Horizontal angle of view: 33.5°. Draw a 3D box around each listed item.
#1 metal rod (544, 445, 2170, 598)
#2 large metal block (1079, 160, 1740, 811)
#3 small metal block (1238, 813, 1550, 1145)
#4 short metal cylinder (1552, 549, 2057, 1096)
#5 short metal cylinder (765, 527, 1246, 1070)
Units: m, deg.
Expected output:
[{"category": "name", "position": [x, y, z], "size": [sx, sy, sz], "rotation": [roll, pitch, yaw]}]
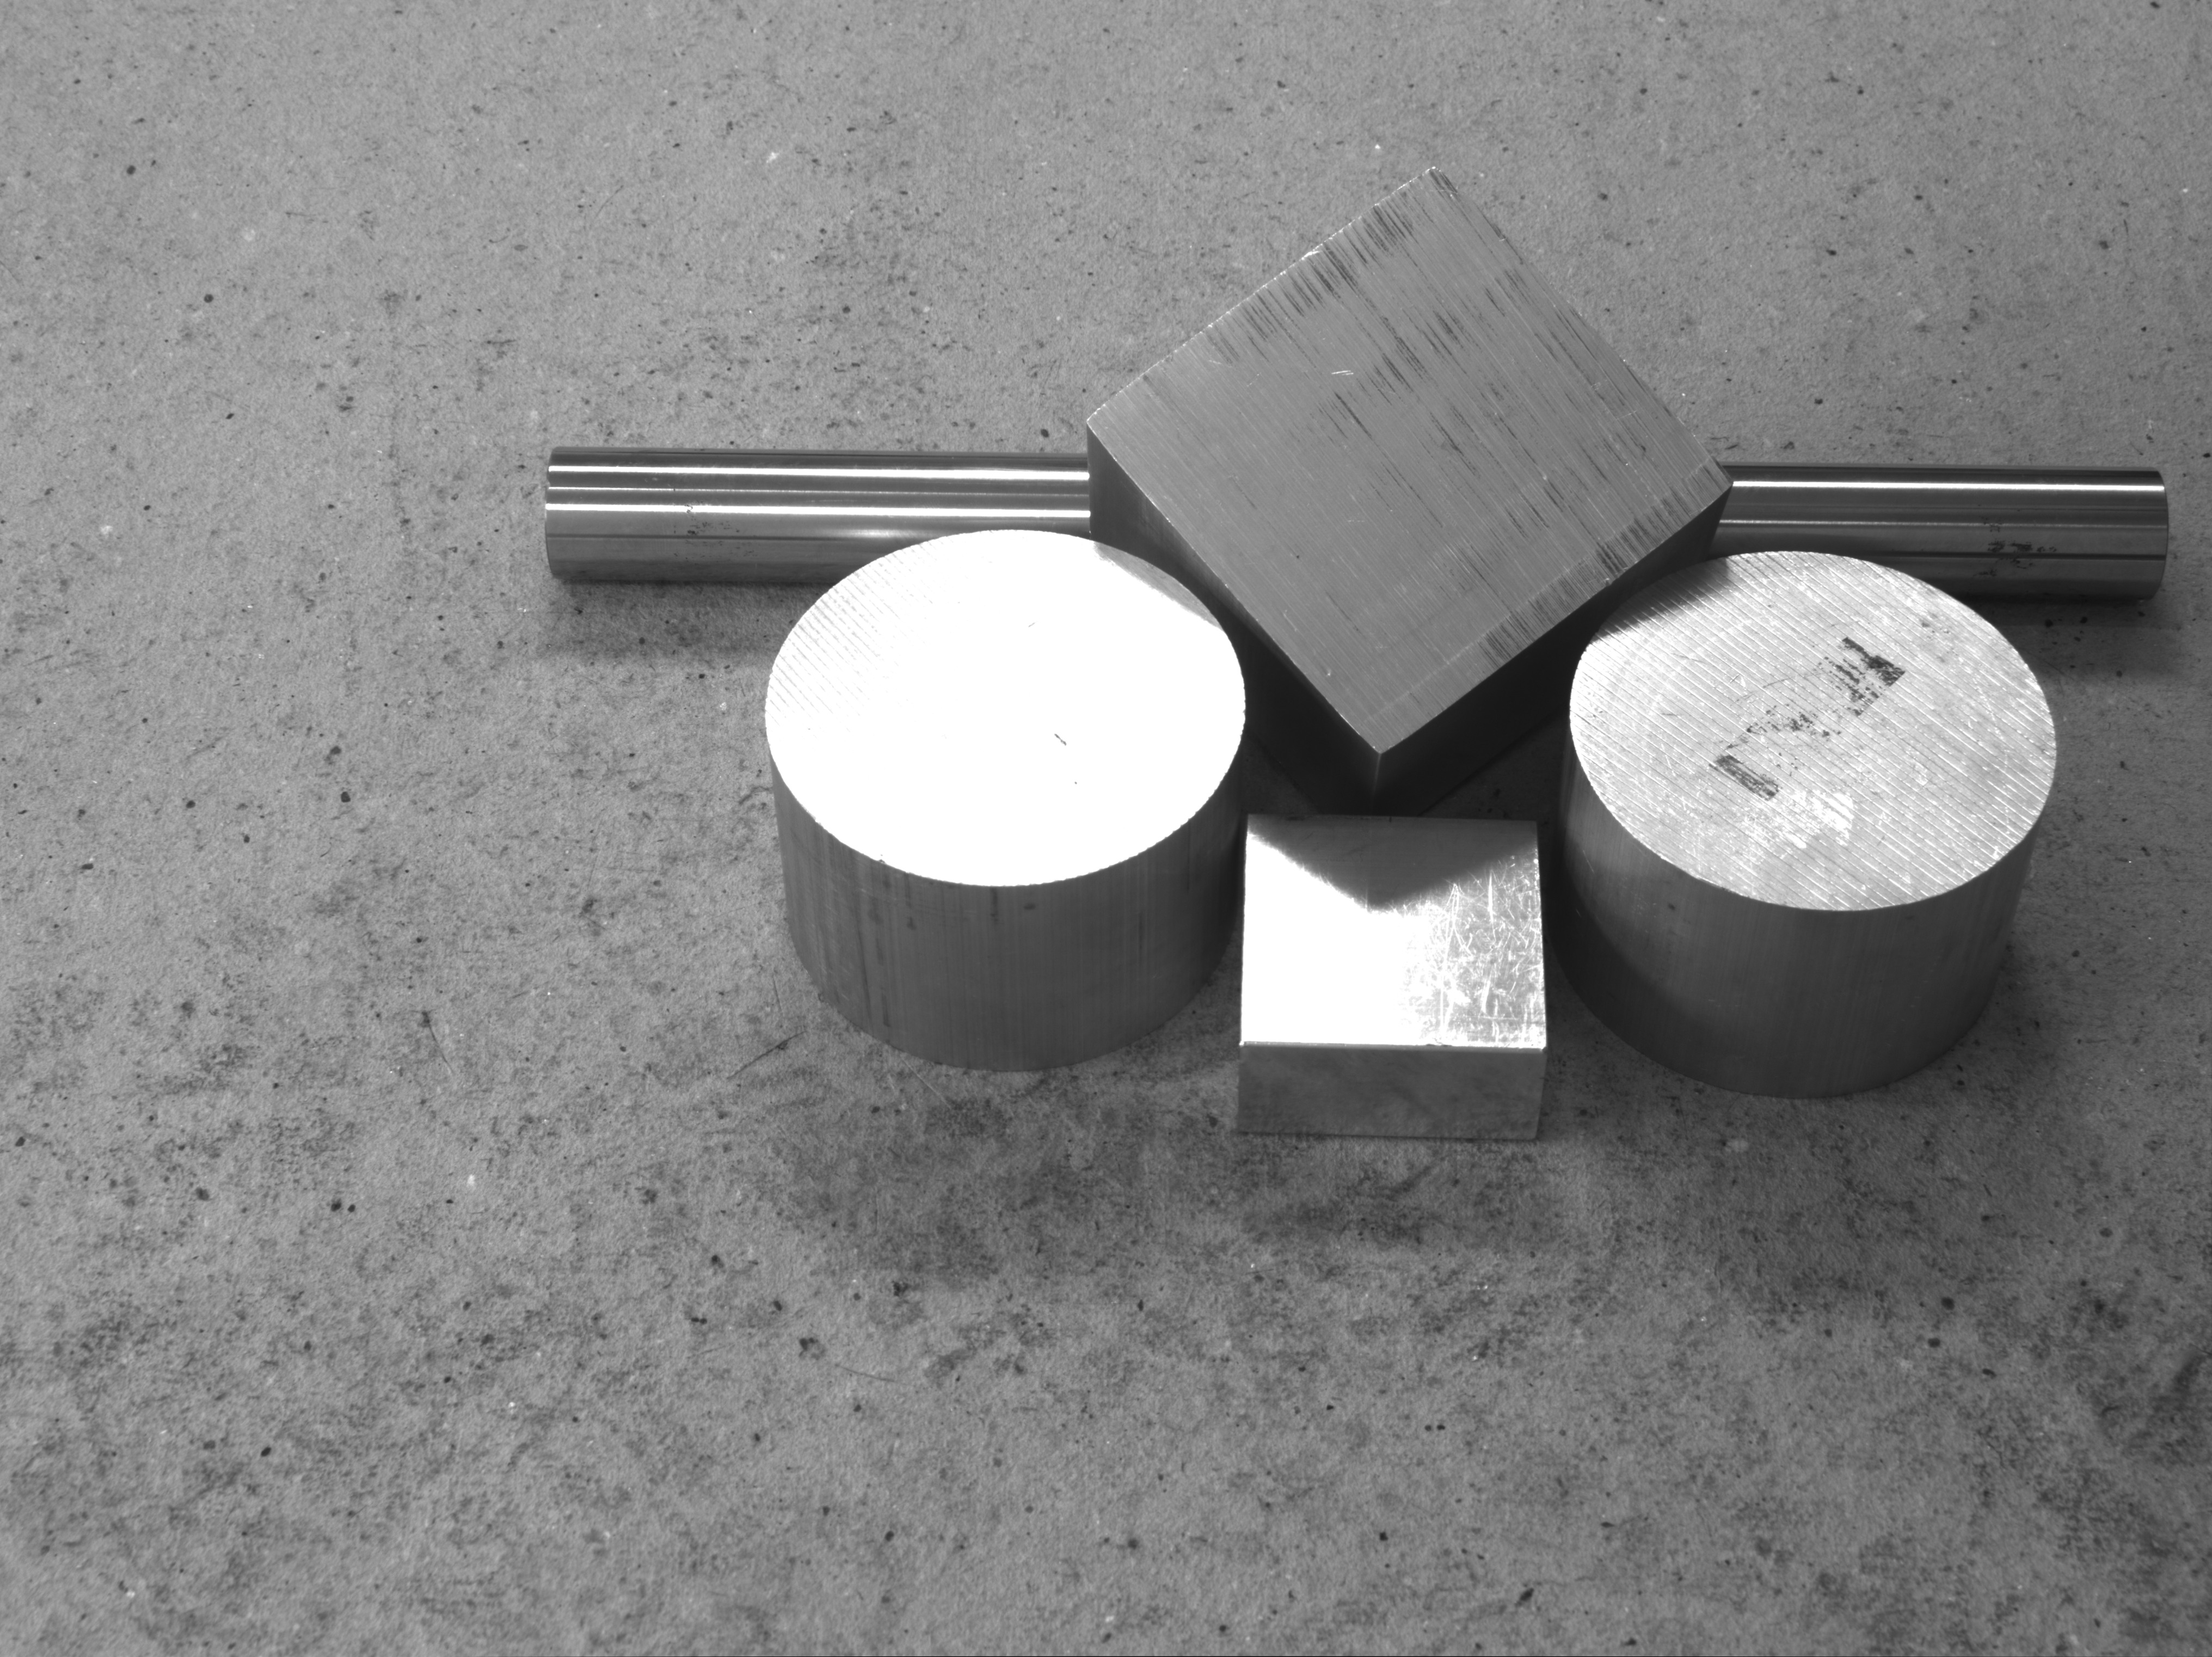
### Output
[{"category": "metal rod", "position": [0.046, -0.058, 0.691], "size": [0.300, 0.025, 0.025], "rotation": [1, 50, 1]}, {"category": "large metal block", "position": [0.052, -0.056, 0.651], "size": [0.080, 0.050, 0.080], "rotation": [-37, 75, -11]}, {"category": "small metal block", "position": [0.048, 0.025, 0.622], "size": [0.050, 0.025, 0.050], "rotation": [2, 50, 1]}, {"category": "short metal cylinder", "position": [0.117, -0.002, 0.627], "size": [0.080, 0.050, 0.080], "rotation": [0, 50, 0]}, {"category": "short metal cylinder", "position": [-0.016, -0.006, 0.630], "size": [0.080, 0.050, 0.080], "rotation": [0, 50, 0]}]
